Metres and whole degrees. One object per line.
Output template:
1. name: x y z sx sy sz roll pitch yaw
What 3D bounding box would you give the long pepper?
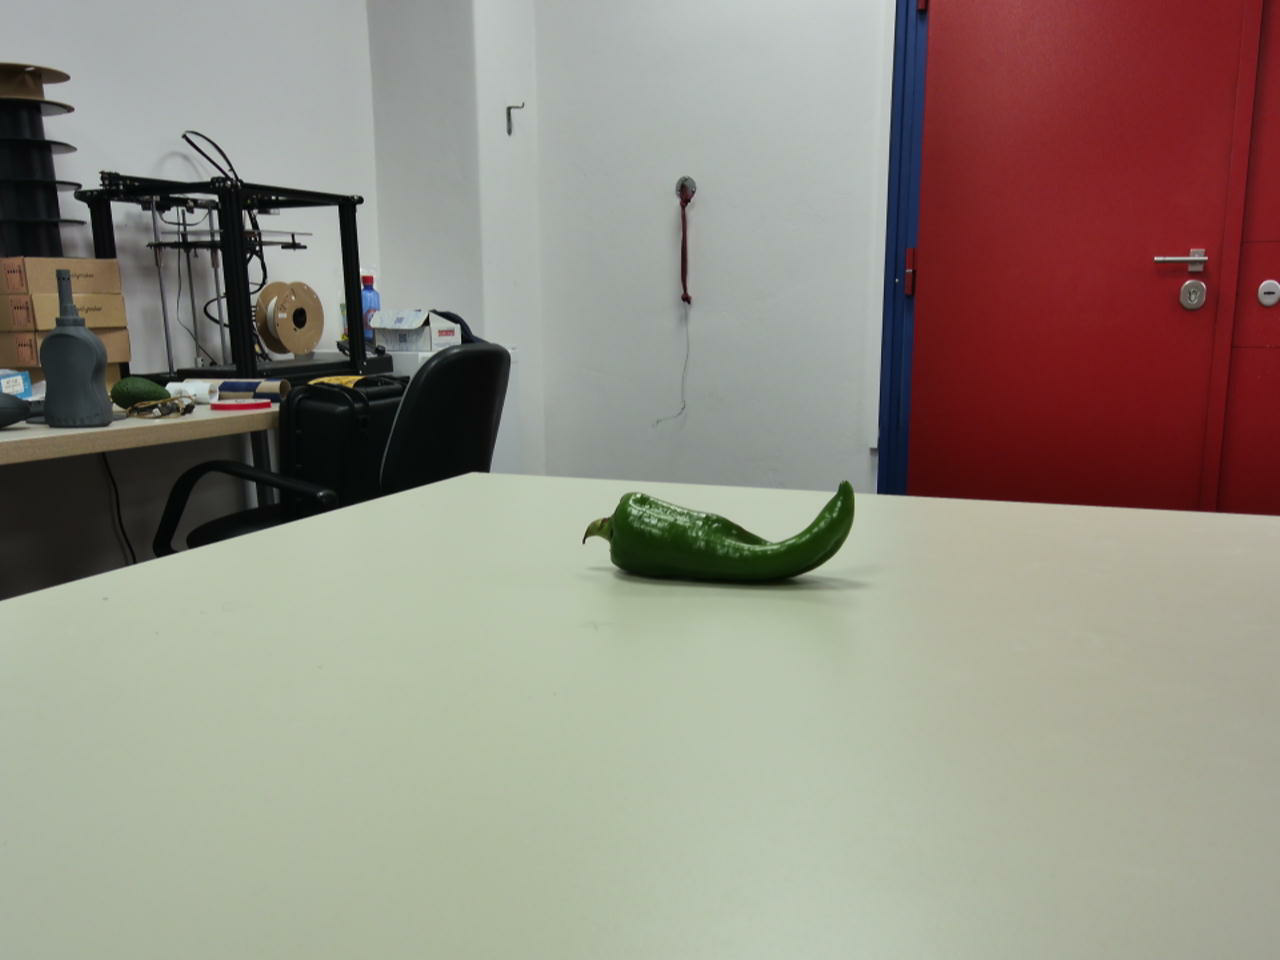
1. long pepper: 0.046 0.030 0.638 0.175 0.065 0.058 3 8 22
